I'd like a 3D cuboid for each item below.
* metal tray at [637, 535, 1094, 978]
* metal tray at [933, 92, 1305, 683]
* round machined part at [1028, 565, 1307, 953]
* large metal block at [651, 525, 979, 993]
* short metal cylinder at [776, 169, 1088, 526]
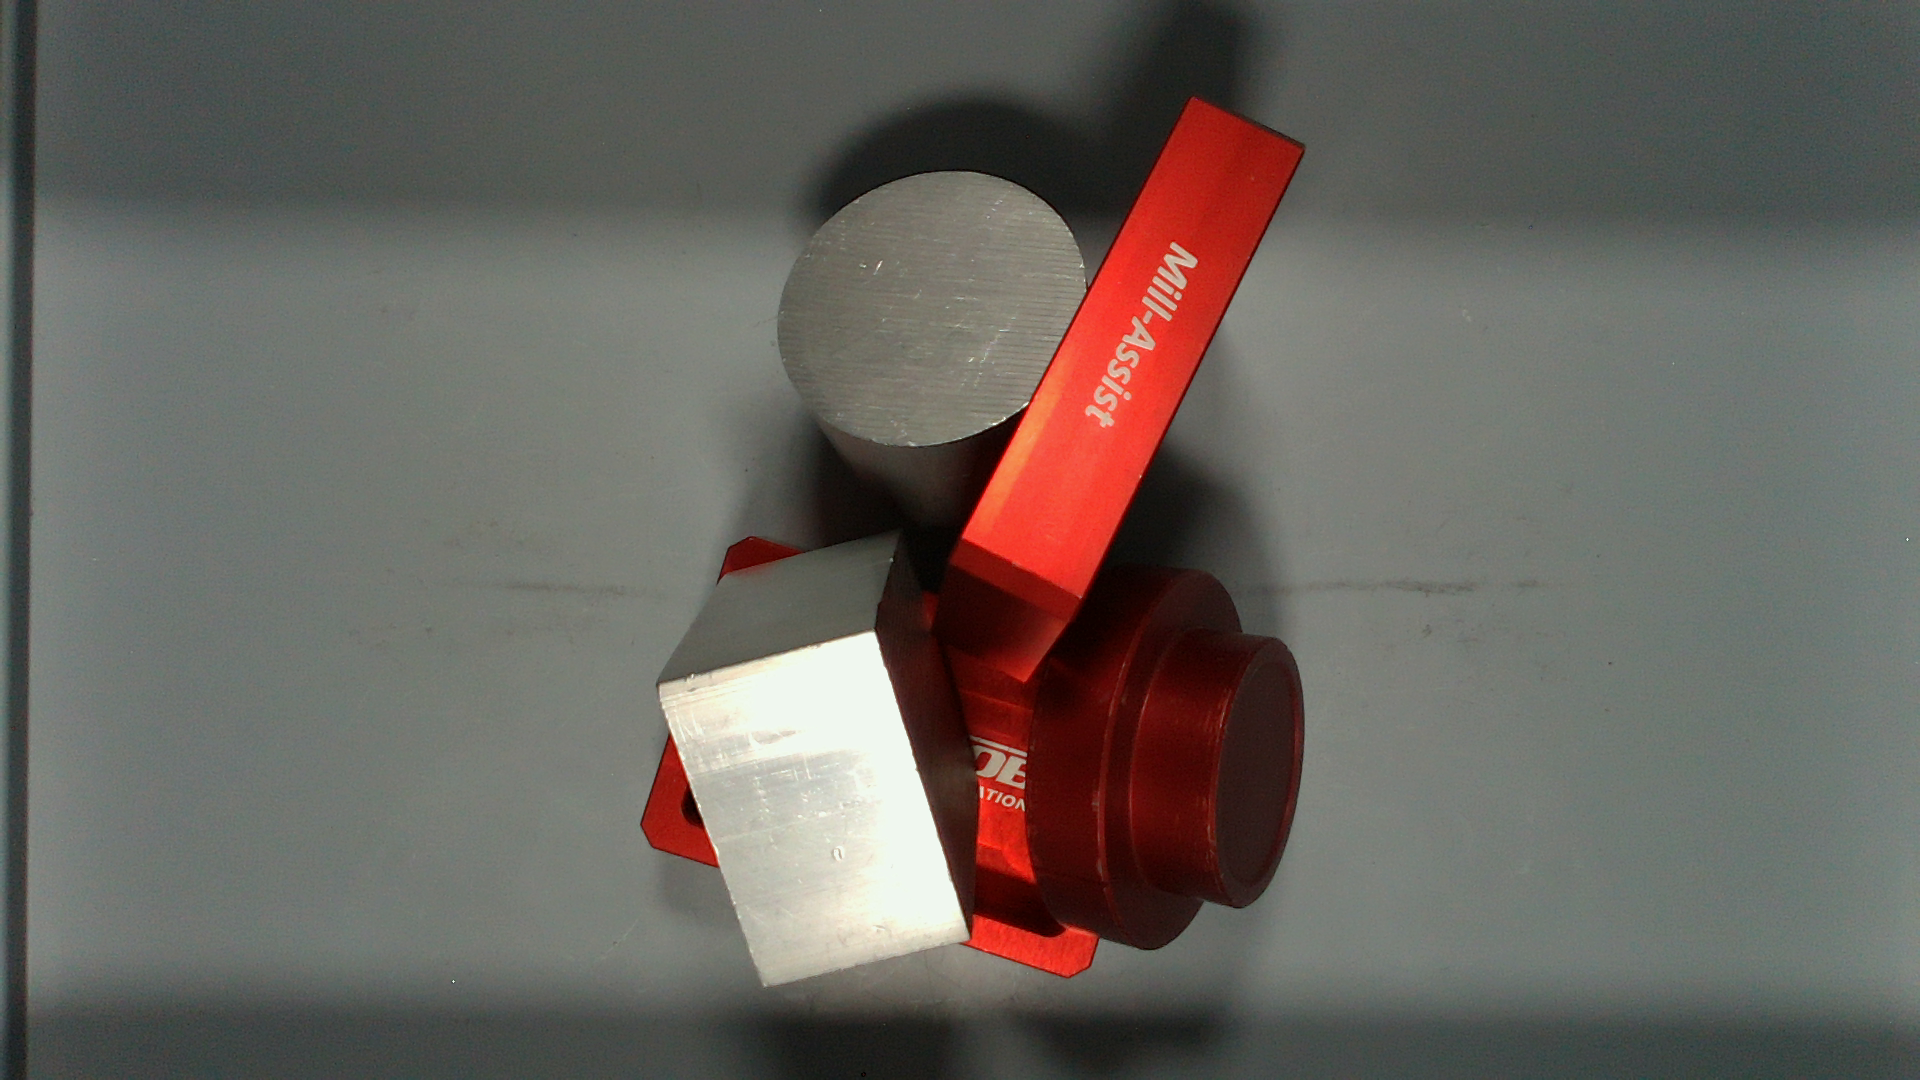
[{"bbox_3d":[-0.014,0.059,0.391,0.130,0.030,0.090,17,90,0],"label":"metal tray"},{"bbox_3d":[0.037,-0.034,0.346,0.030,0.090,0.130,26,75,3],"label":"metal tray"},{"bbox_3d":[0.059,0.057,0.355,0.042,0.098,0.098,6,90,30],"label":"round machined part"},{"bbox_3d":[-0.031,0.050,0.344,0.050,0.080,0.080,-15,106,6],"label":"large metal block"},{"bbox_3d":[-0.003,-0.050,0.367,0.080,0.050,0.080,-4,67,10],"label":"short metal cylinder"}]
